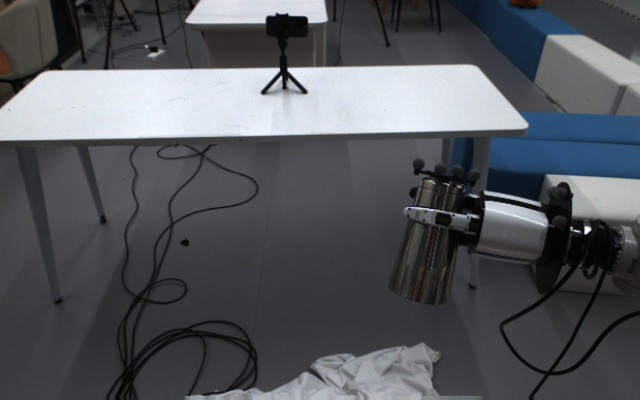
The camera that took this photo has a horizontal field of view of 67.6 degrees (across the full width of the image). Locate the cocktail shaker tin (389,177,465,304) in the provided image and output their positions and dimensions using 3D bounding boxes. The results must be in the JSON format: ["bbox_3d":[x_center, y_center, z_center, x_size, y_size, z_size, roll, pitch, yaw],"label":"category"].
[{"bbox_3d":[0.167,0.053,0.716,0.093,0.170,0.093,10,9,-2],"label":"cocktail shaker tin"}]
